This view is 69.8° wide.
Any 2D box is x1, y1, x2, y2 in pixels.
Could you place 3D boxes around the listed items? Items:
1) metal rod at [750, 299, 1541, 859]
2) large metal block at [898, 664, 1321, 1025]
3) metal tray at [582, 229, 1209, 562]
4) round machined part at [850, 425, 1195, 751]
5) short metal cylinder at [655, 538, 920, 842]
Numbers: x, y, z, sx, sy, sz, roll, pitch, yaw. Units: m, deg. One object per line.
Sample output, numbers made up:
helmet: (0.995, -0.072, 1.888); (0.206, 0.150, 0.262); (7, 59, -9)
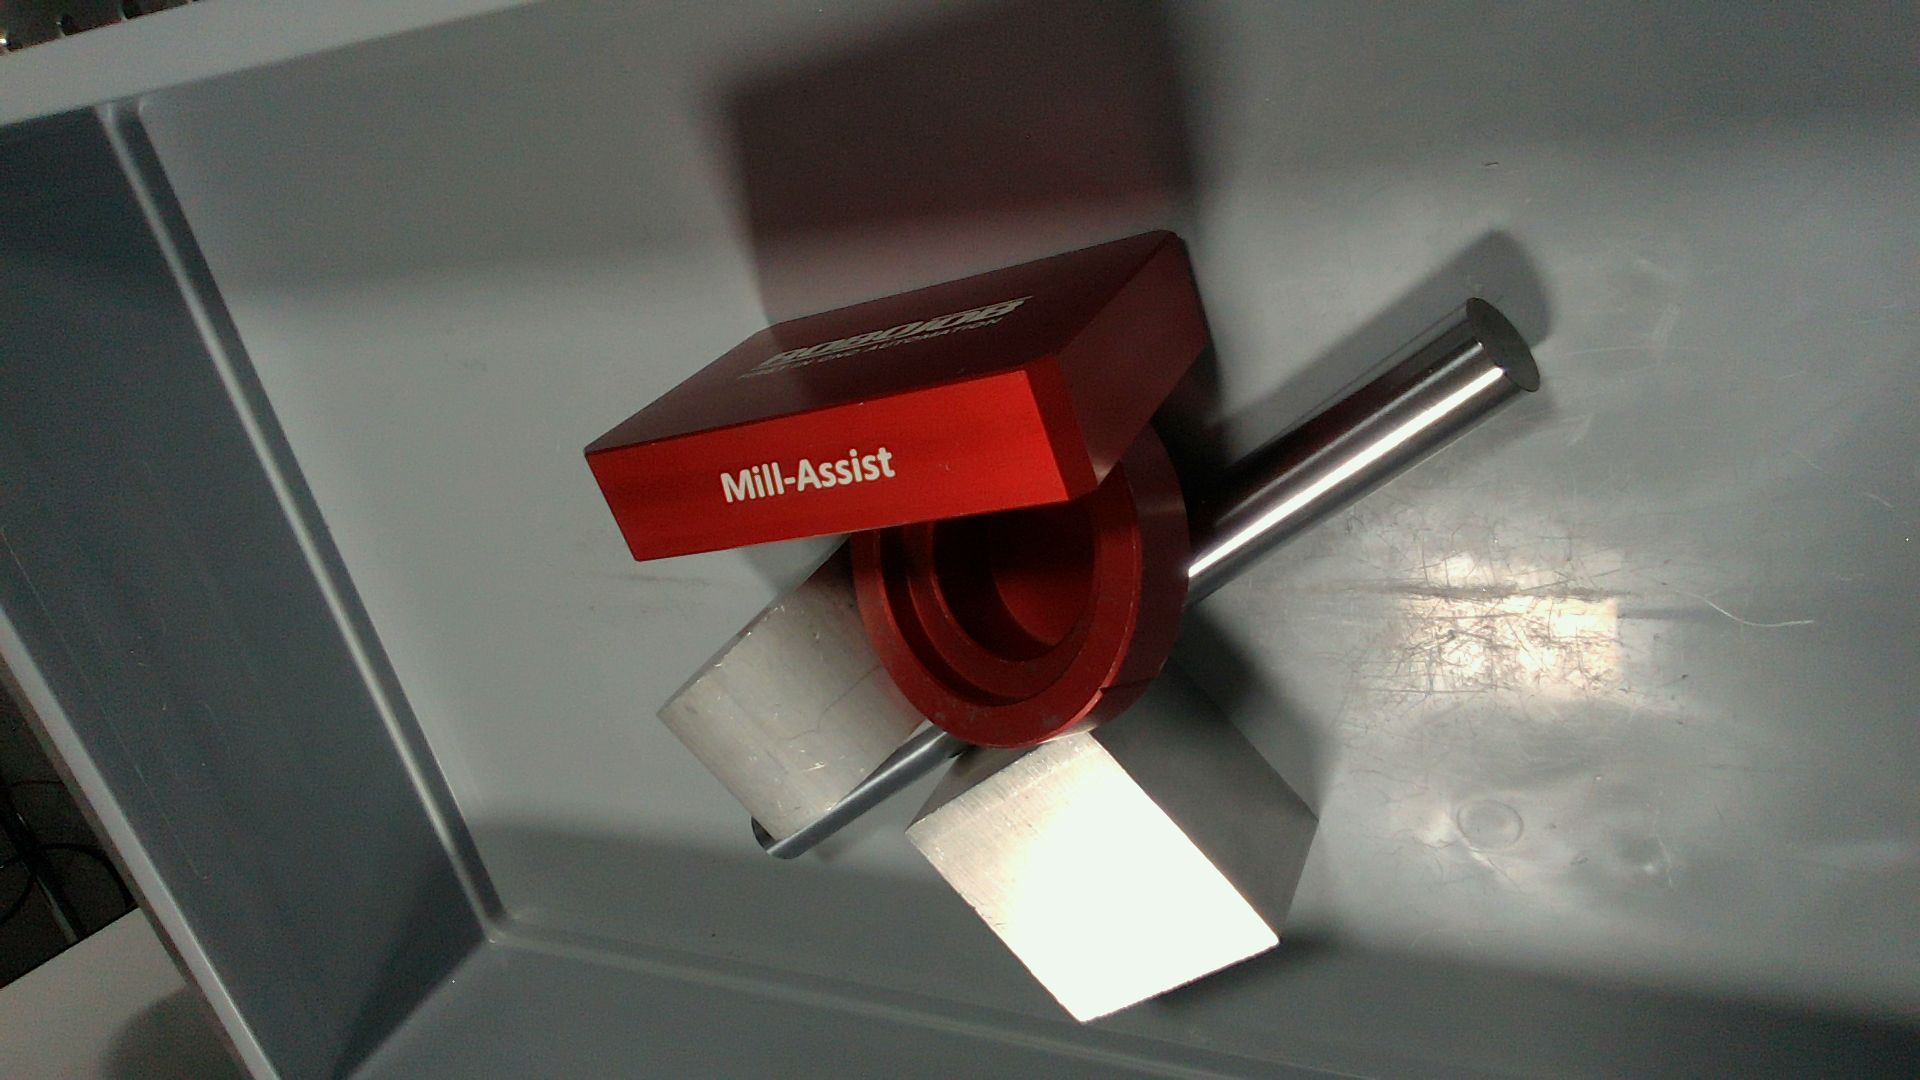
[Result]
metal rod: (0.028, 0.029, 0.395); (0.025, 0.025, 0.299); (48, 129, -5)
large metal block: (0.044, 0.085, 0.403); (0.080, 0.050, 0.080); (48, 129, -5)
metal tray: (-0.015, -0.035, 0.335); (0.129, 0.090, 0.030); (-7, 115, 31)
round machined part: (0.020, 0.002, 0.353); (0.098, 0.042, 0.098); (4, 96, 43)
short metal cylinder: (-0.042, 0.042, 0.405); (0.050, 0.080, 0.080); (47, 129, -5)
